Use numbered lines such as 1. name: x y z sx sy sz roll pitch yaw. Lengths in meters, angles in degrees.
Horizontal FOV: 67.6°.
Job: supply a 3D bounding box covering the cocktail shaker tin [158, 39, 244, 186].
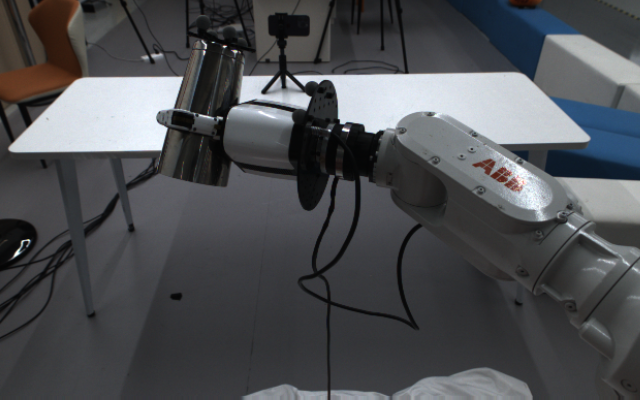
1. cocktail shaker tin: -0.146 -0.109 0.622 0.093 0.170 0.093 13 5 -1
